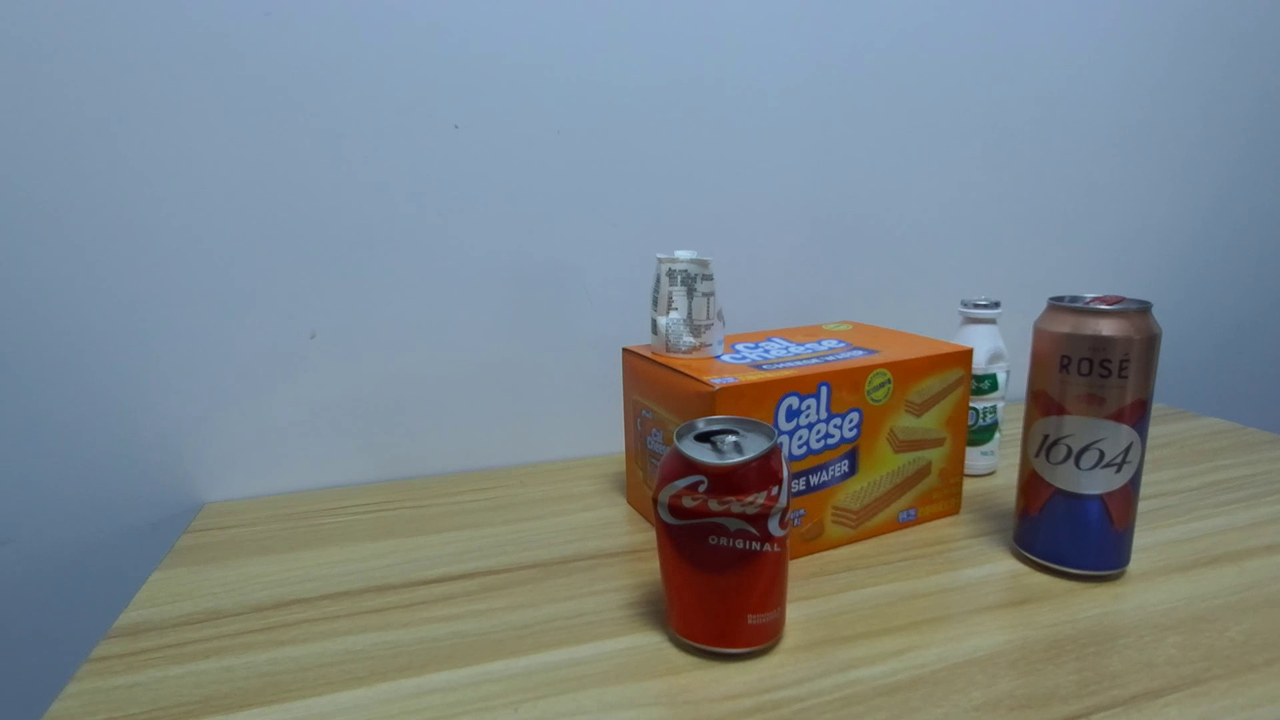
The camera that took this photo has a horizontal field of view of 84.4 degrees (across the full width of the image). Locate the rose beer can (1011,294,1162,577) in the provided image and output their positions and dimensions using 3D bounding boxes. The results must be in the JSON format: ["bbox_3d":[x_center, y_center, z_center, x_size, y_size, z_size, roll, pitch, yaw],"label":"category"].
[{"bbox_3d":[0.279,0.048,0.444,0.068,0.169,0.068,0,12,0],"label":"rose beer can"}]

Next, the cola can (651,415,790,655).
[{"bbox_3d":[0.048,0.092,0.380,0.072,0.117,0.066,6,13,26],"label":"cola can"}]

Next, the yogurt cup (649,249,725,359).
[{"bbox_3d":[0.033,-0.040,0.508,0.055,0.072,0.055,4,12,21],"label":"yogurt cup"}]

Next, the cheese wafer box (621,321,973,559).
[{"bbox_3d":[0.113,0.052,0.534,0.223,0.129,0.147,-7,14,-25],"label":"cheese wafer box"}]

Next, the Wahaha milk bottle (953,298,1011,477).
[{"bbox_3d":[0.286,0.029,0.608,0.053,0.136,0.053,3,9,0],"label":"Wahaha milk bottle"}]
